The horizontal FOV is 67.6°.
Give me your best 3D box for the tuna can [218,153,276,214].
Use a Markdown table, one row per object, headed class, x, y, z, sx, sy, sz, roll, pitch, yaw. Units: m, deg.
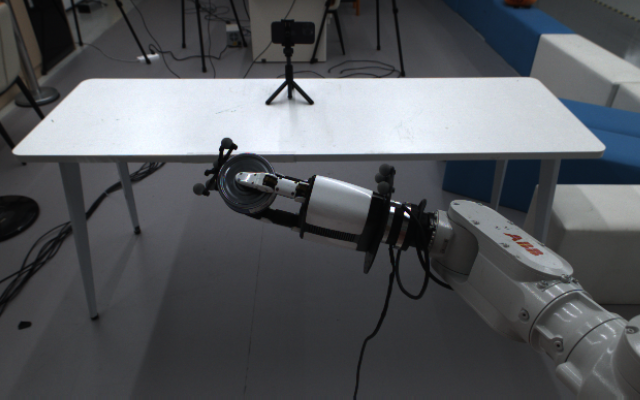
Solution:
| class | x | y | z | sx | sy | sz | roll | pitch | yaw |
| --- | --- | --- | --- | --- | --- | --- | --- | --- | --- |
| tuna can | -0.103 | -0.025 | 0.701 | 0.085 | 0.034 | 0.085 | 0 | 75 | -2 |
